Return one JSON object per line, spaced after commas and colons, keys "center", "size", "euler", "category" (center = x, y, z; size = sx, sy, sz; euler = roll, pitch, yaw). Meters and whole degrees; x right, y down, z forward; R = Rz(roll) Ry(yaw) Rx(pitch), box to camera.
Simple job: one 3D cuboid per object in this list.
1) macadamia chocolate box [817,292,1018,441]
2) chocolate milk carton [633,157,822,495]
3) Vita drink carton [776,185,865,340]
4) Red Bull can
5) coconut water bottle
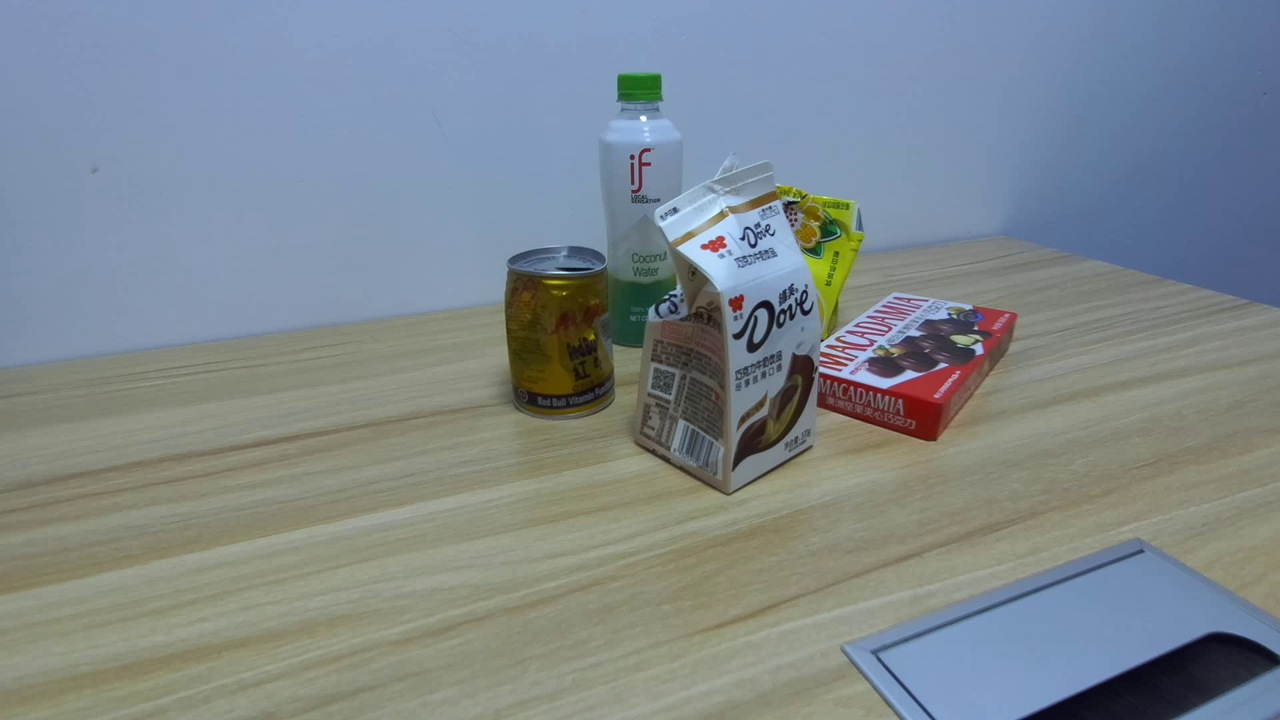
{"center": [0.185, -0.004, 0.483], "size": [0.095, 0.027, 0.178], "euler": [17, 29, 35], "category": "macadamia chocolate box"}
{"center": [0.045, -0.023, 0.366], "size": [0.076, 0.155, 0.073], "euler": [-20, 29, -37], "category": "chocolate milk carton"}
{"center": [0.127, -0.077, 0.550], "size": [0.086, 0.108, 0.042], "euler": [15, 14, 25], "category": "Vita drink carton"}
{"center": [-0.049, -0.018, 0.437], "size": [0.072, 0.092, 0.072], "euler": [0, 23, 0], "category": "Red Bull can"}
{"center": [0.001, -0.107, 0.517], "size": [0.063, 0.189, 0.063], "euler": [0, 22, 0], "category": "coconut water bottle"}
